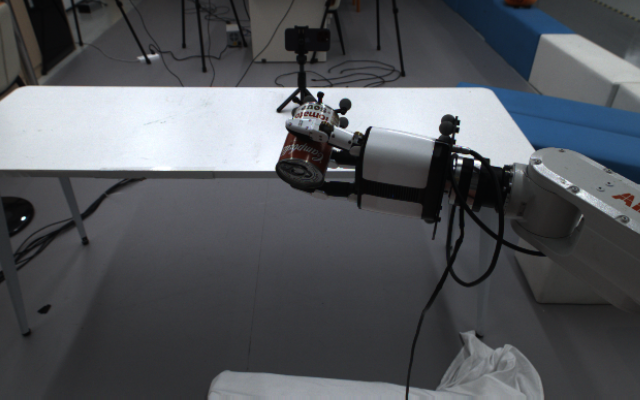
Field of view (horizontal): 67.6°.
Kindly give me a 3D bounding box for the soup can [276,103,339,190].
[{"bbox_3d":[-0.015,-0.077,0.664,0.067,0.067,0.101,9,60,10],"label":"soup can"}]
